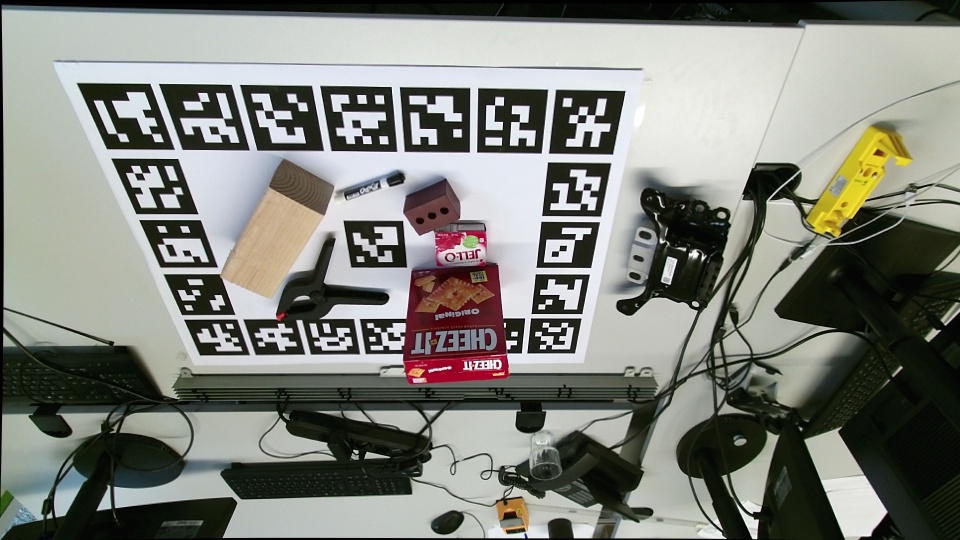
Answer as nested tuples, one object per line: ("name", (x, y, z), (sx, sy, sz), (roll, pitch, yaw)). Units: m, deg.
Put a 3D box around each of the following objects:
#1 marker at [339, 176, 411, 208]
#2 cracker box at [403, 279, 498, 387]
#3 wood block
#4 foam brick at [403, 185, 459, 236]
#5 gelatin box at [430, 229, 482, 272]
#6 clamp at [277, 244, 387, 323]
("marker", (-0.168, -0.126, 0.863), (0.121, 0.019, 0.019), (-17, 123, 9))
("cracker box", (-0.054, 0.105, 0.911), (0.165, 0.212, 0.072), (-2, 126, 1))
("wood block", (-0.331, -0.055, 0.869), (0.090, 0.090, 0.206), (29, 122, -24))
("foam brick", (-0.079, -0.093, 0.873), (0.078, 0.051, 0.053), (-21, 122, 11))
("gelatin box", (-0.041, -0.034, 0.934), (0.090, 0.030, 0.073), (-1, 124, -2))
("clamp", (-0.298, 0.054, 0.976), (0.203, 0.036, 0.166), (-26, 122, 15))
